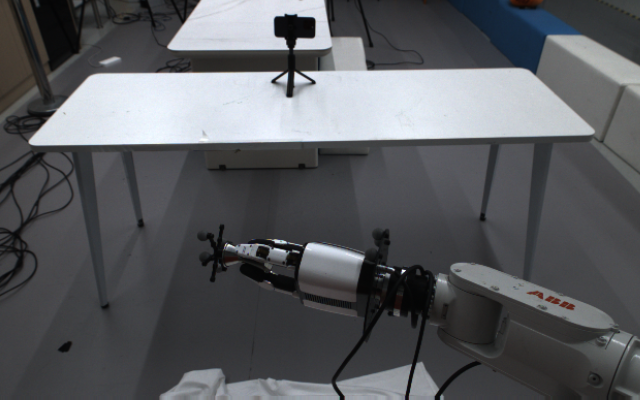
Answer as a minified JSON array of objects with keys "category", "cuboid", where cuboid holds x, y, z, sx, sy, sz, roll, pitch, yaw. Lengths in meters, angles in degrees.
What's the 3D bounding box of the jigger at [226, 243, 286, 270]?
[{"category":"jigger","cuboid":[-0.100,0.080,0.729,0.071,0.043,0.043,3,34,14]}]
